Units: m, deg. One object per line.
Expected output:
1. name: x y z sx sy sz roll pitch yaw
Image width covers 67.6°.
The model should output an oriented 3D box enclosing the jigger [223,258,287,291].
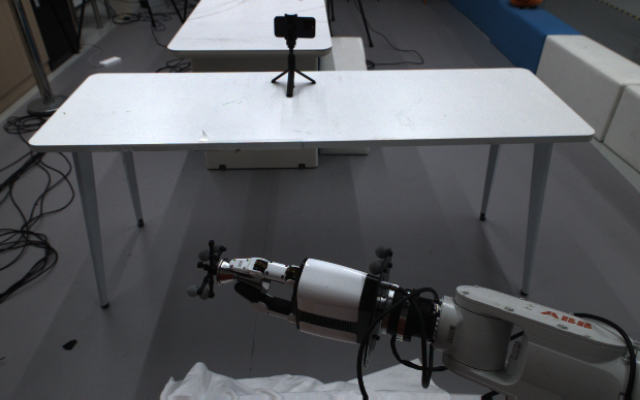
1. jigger: -0.101 0.102 0.686 0.071 0.043 0.043 6 35 12
